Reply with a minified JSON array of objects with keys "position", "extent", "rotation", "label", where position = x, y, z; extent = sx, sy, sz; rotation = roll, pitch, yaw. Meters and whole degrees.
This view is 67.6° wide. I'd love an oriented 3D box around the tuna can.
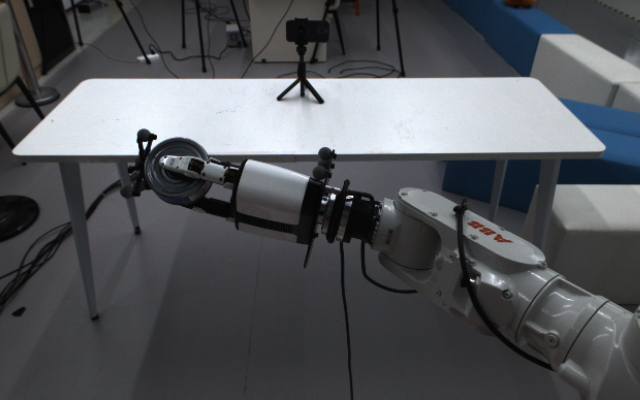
[{"position":[-0.182,-0.035,0.634],"extent":[0.085,0.034,0.085],"rotation":[1,75,-5],"label":"tuna can"}]
